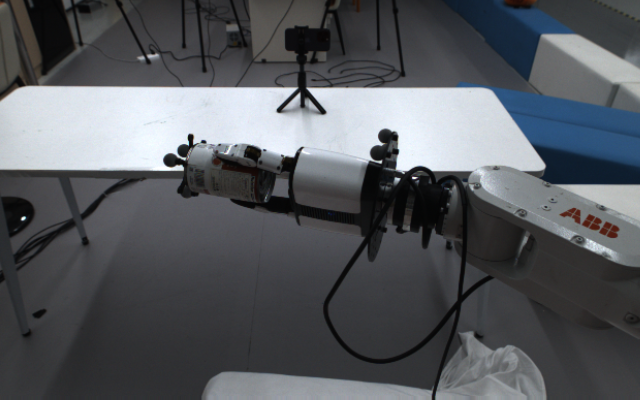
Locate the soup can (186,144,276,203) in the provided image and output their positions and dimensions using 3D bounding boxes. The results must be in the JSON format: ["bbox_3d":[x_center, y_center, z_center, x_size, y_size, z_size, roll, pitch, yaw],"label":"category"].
[{"bbox_3d":[-0.114,-0.034,0.629,0.101,0.067,0.067,9,35,10],"label":"soup can"}]
